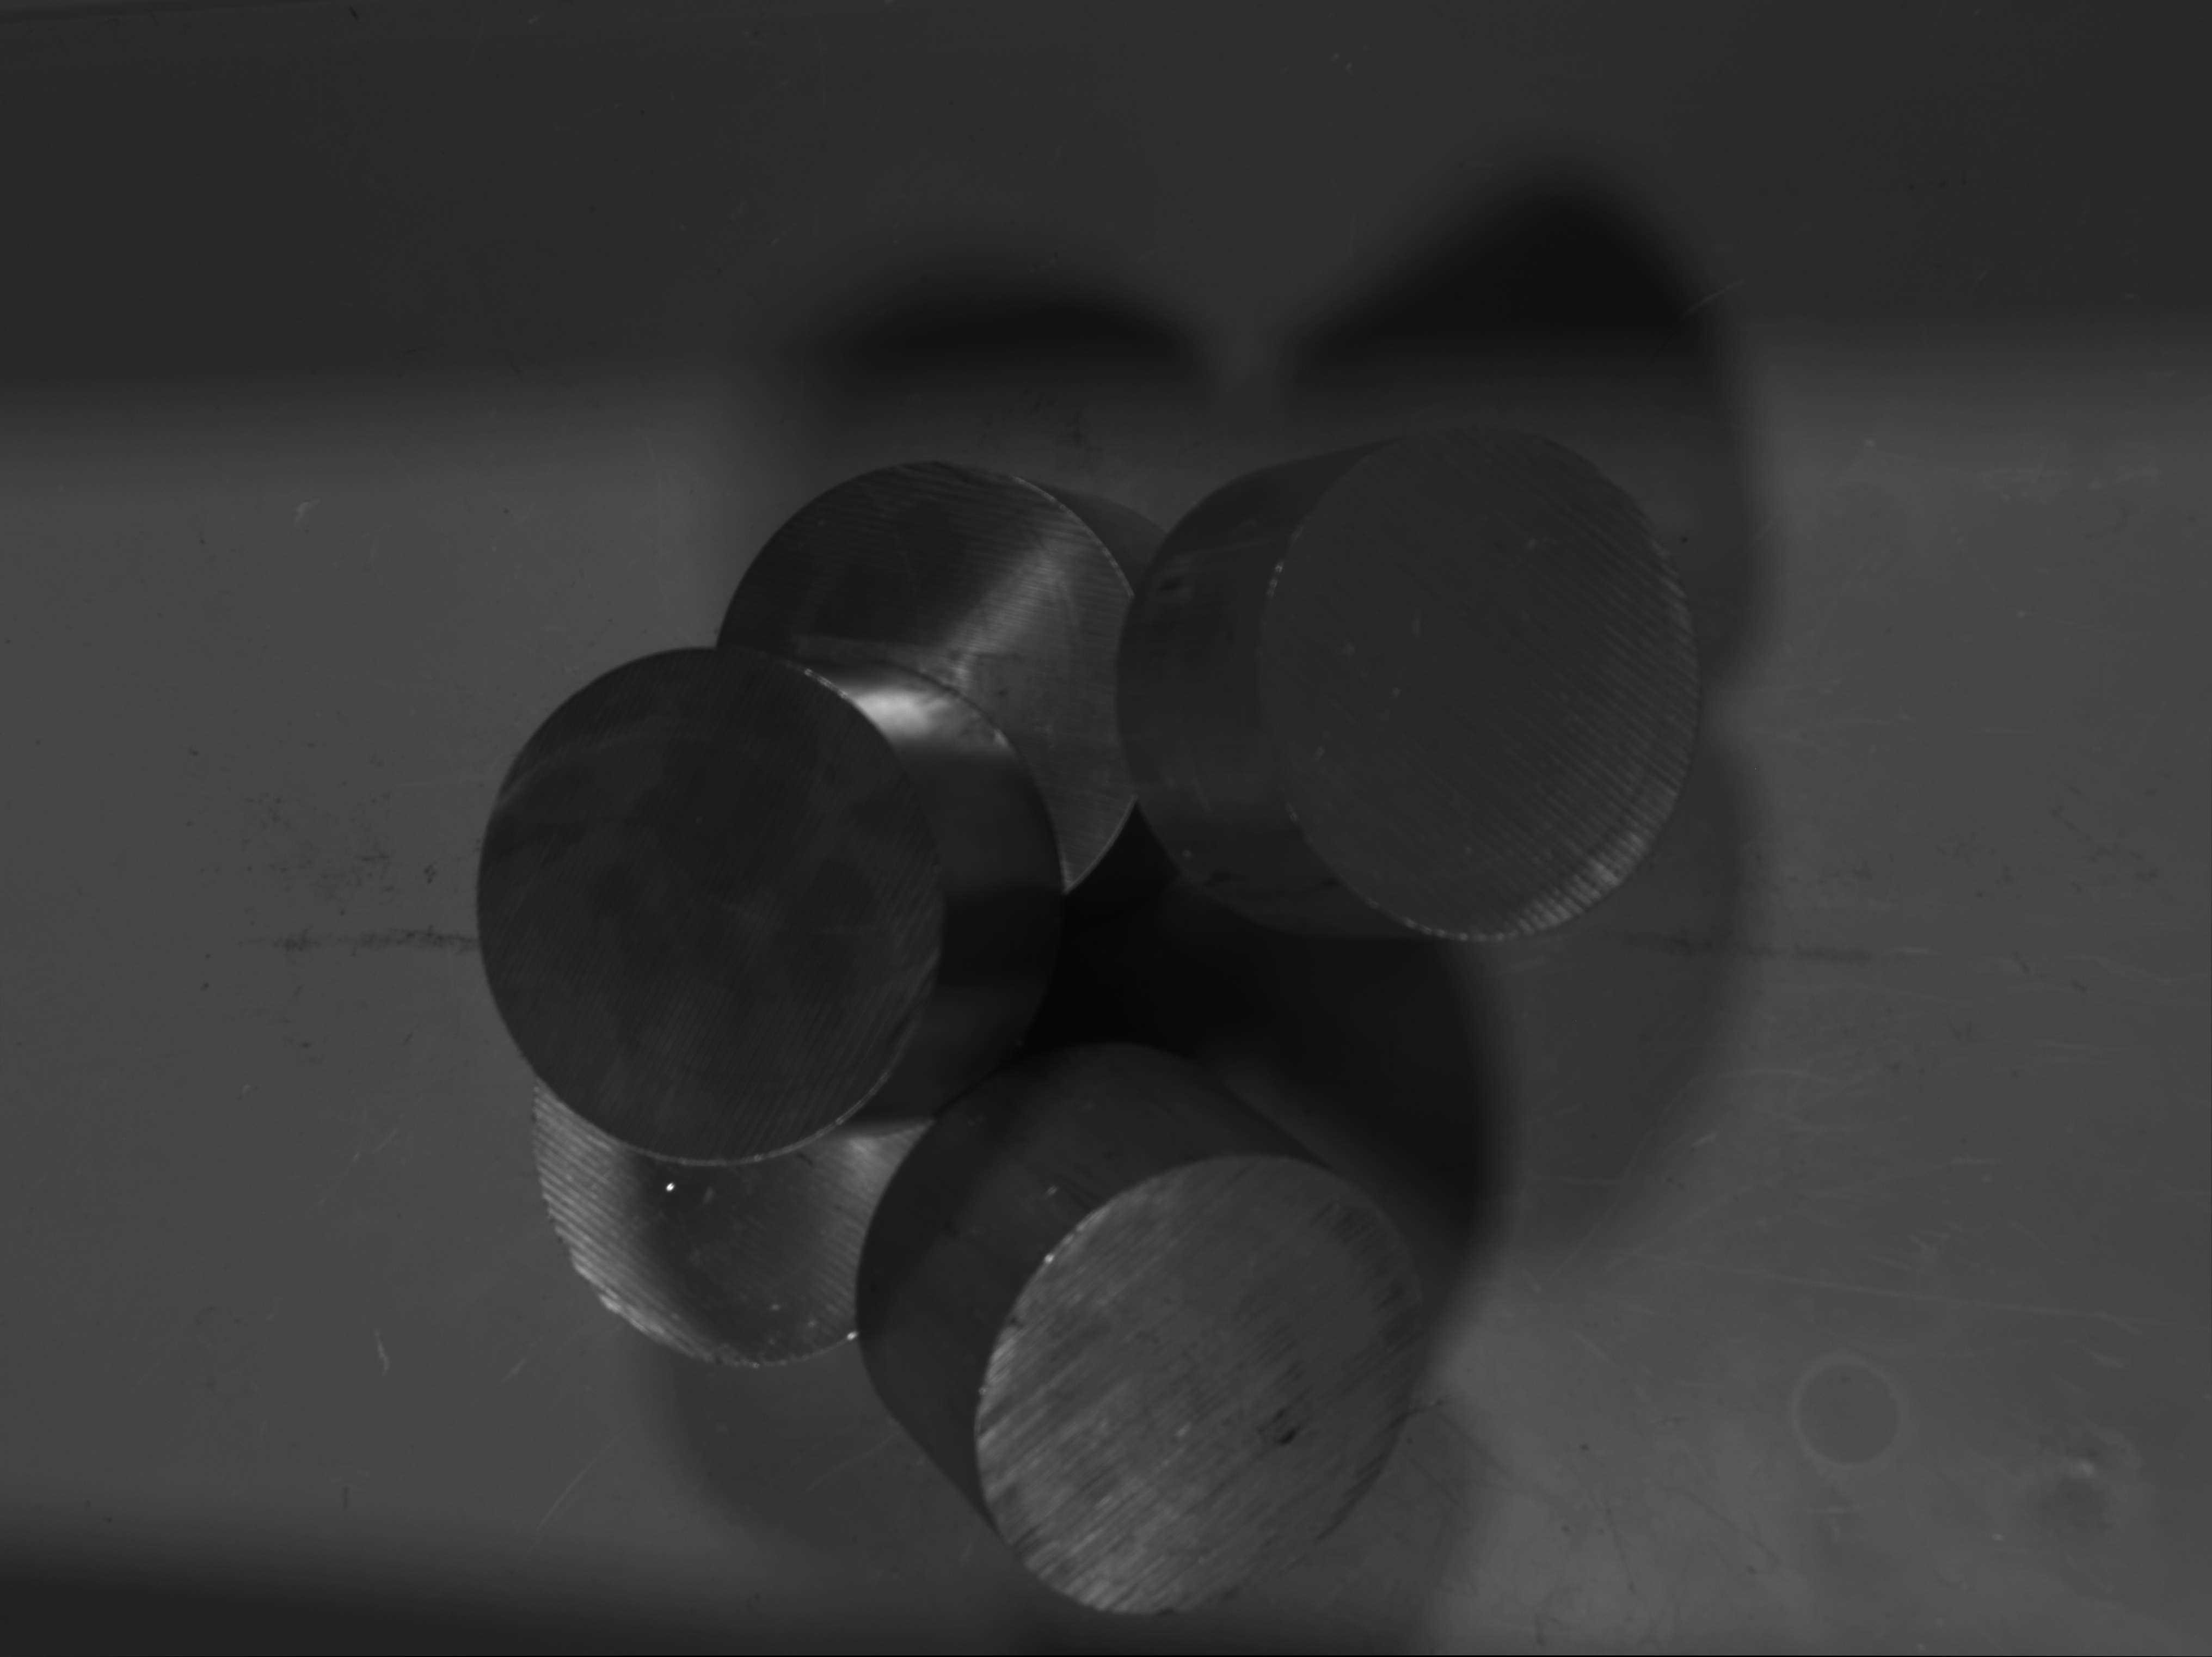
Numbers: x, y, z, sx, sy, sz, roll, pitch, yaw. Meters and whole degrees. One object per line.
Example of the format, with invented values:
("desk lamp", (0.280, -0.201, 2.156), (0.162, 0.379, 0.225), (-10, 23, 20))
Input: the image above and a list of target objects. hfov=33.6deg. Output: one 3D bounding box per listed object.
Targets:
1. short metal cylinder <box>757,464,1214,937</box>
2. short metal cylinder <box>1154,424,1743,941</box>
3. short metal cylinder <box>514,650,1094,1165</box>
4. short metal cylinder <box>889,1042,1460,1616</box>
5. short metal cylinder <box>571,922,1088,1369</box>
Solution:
("short metal cylinder", (-0.015, -0.021, 0.635), (0.080, 0.050, 0.080), (0, 90, 20))
("short metal cylinder", (0.055, -0.022, 0.589), (0.080, 0.050, 0.080), (1, 88, -24))
("short metal cylinder", (-0.048, 0.012, 0.592), (0.080, 0.050, 0.080), (0, 90, 20))
("short metal cylinder", (0.011, 0.081, 0.602), (0.050, 0.080, 0.080), (35, 105, 58))
("short metal cylinder", (-0.047, 0.052, 0.647), (0.080, 0.050, 0.080), (0, 90, 20))
